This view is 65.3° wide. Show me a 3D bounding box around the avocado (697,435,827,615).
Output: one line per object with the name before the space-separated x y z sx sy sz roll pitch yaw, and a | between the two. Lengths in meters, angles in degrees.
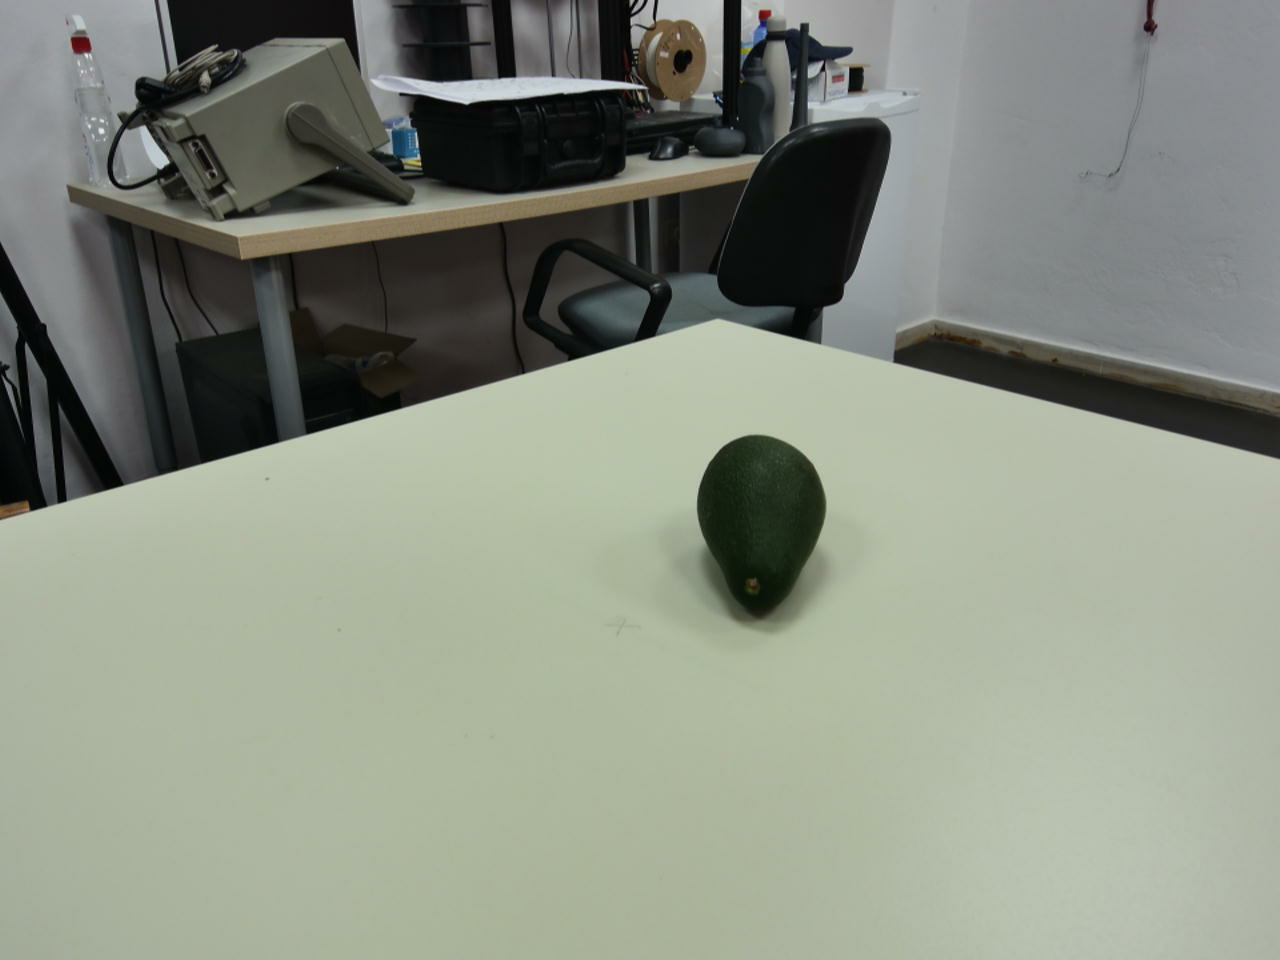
avocado | 0.061 0.018 0.537 0.073 0.071 0.109 11 26 24
